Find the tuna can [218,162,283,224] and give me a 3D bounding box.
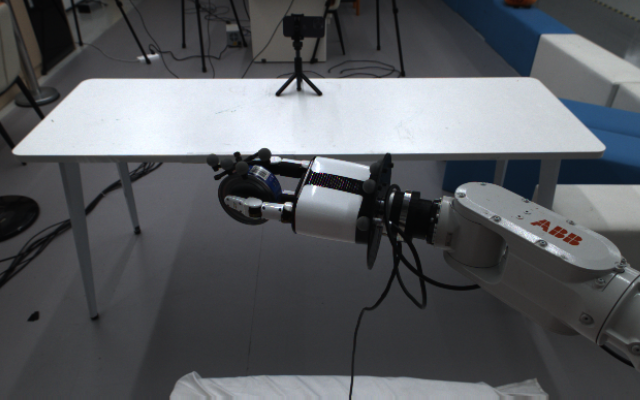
[{"bbox_3d":[-0.093,-0.008,0.687,0.085,0.085,0.034,9,33,11],"label":"tuna can"}]
